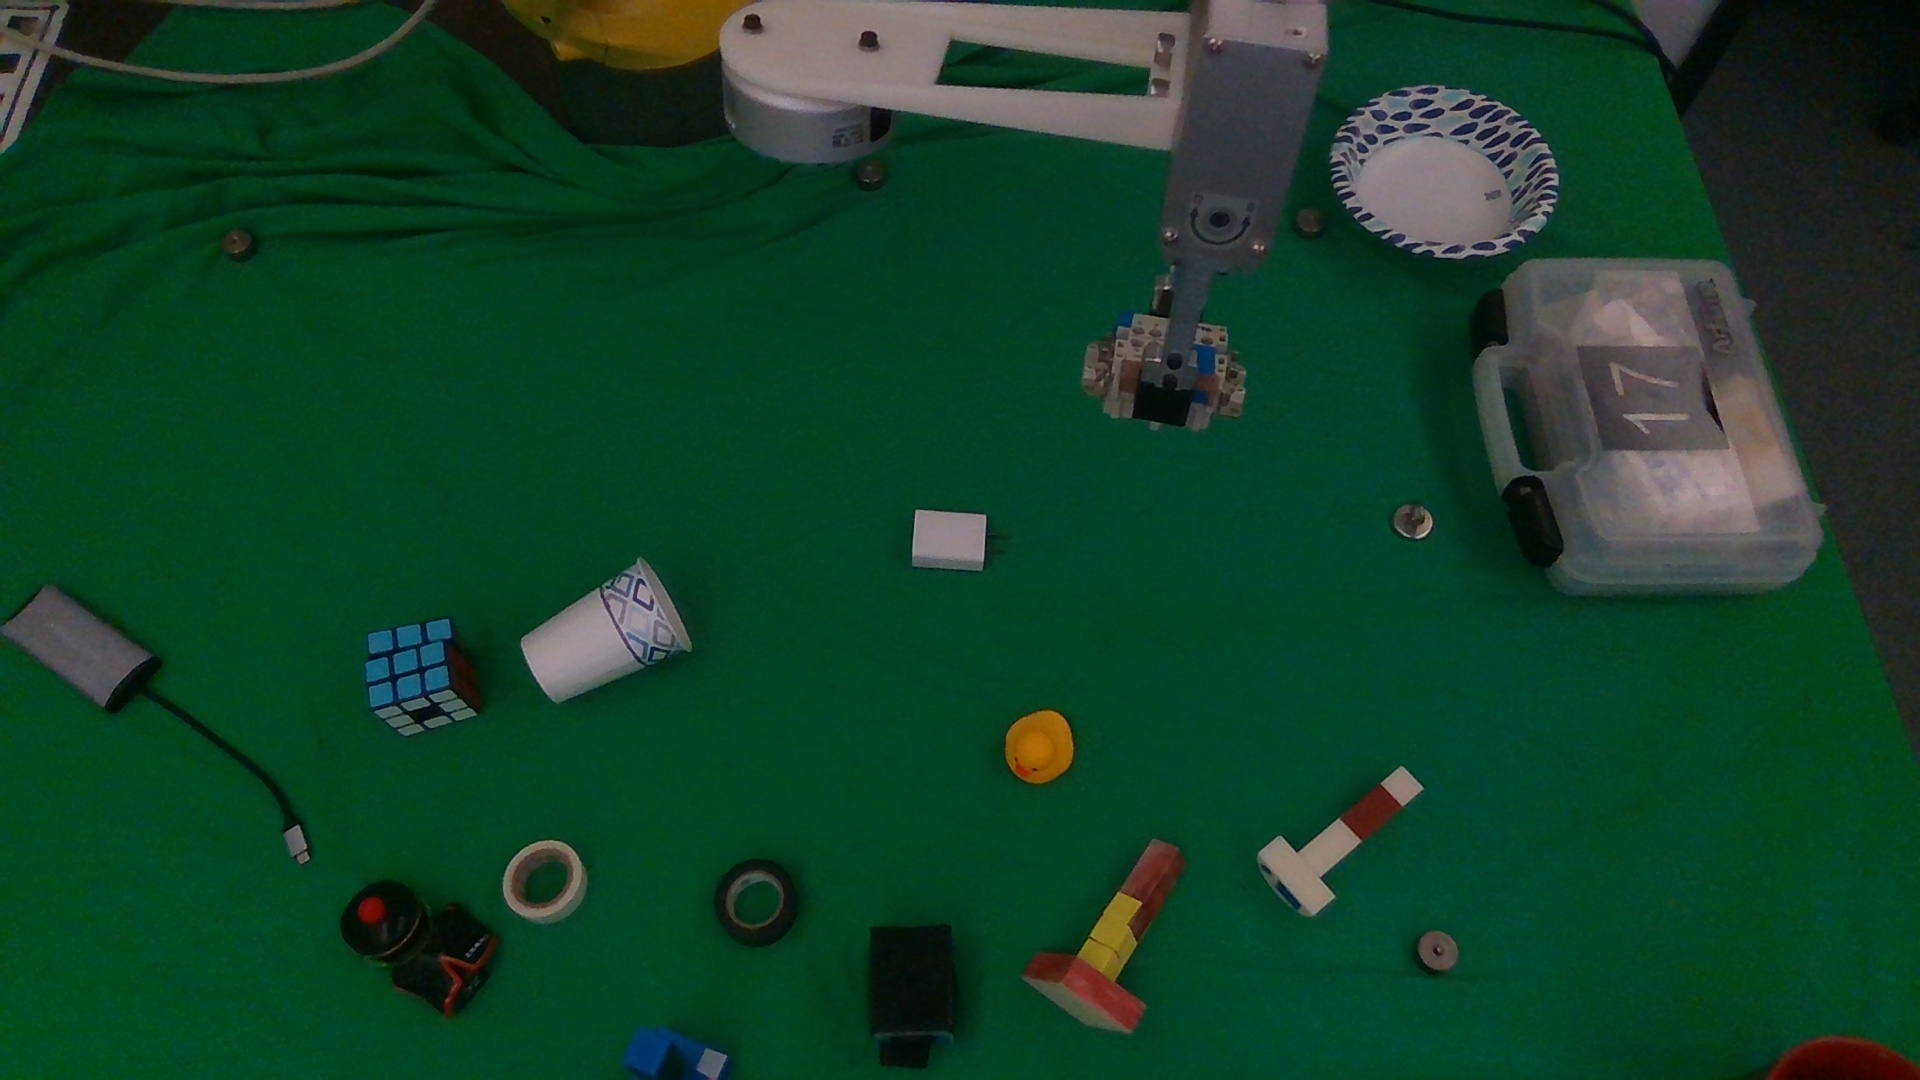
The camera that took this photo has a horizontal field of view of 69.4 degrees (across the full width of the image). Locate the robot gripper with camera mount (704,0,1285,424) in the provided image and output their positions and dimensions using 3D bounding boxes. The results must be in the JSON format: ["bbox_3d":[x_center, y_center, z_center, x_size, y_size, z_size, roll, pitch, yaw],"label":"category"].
[{"bbox_3d":[0.003,-0.124,0.498,0.193,0.158,0.119,9,49,4],"label":"robot gripper with camera mount"}]

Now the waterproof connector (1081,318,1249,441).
[{"bbox_3d":[0.081,-0.062,0.550,0.065,0.037,0.035,10,44,1],"label":"waterproof connector"}]
